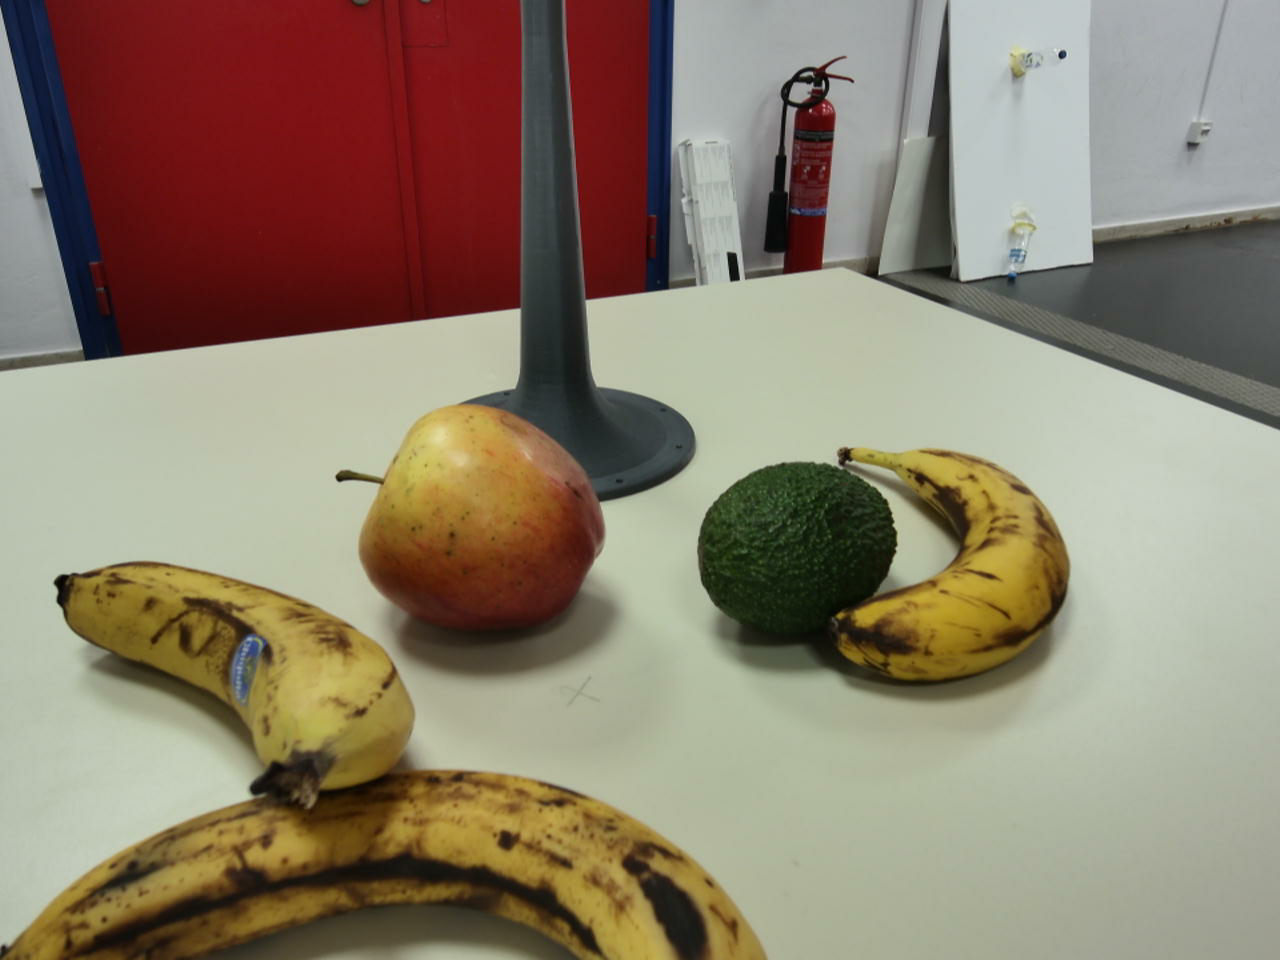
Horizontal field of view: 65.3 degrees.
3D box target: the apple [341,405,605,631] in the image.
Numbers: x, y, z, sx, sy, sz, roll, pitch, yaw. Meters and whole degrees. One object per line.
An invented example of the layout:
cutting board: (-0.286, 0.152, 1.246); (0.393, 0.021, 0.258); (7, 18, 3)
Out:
apple: (-0.062, 0.015, 0.381); (0.093, 0.084, 0.086); (13, 27, 25)
